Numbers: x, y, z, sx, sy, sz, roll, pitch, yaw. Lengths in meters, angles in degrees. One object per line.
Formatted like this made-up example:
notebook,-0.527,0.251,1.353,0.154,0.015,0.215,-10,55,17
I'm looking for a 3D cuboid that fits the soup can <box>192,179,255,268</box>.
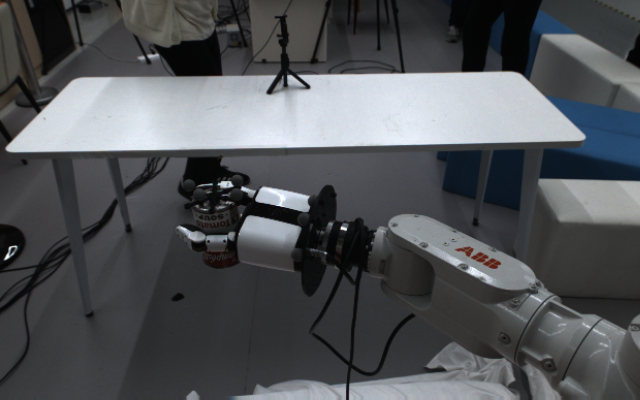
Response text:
soup can,-0.148,0.042,0.715,0.067,0.101,0.067,-2,33,2
